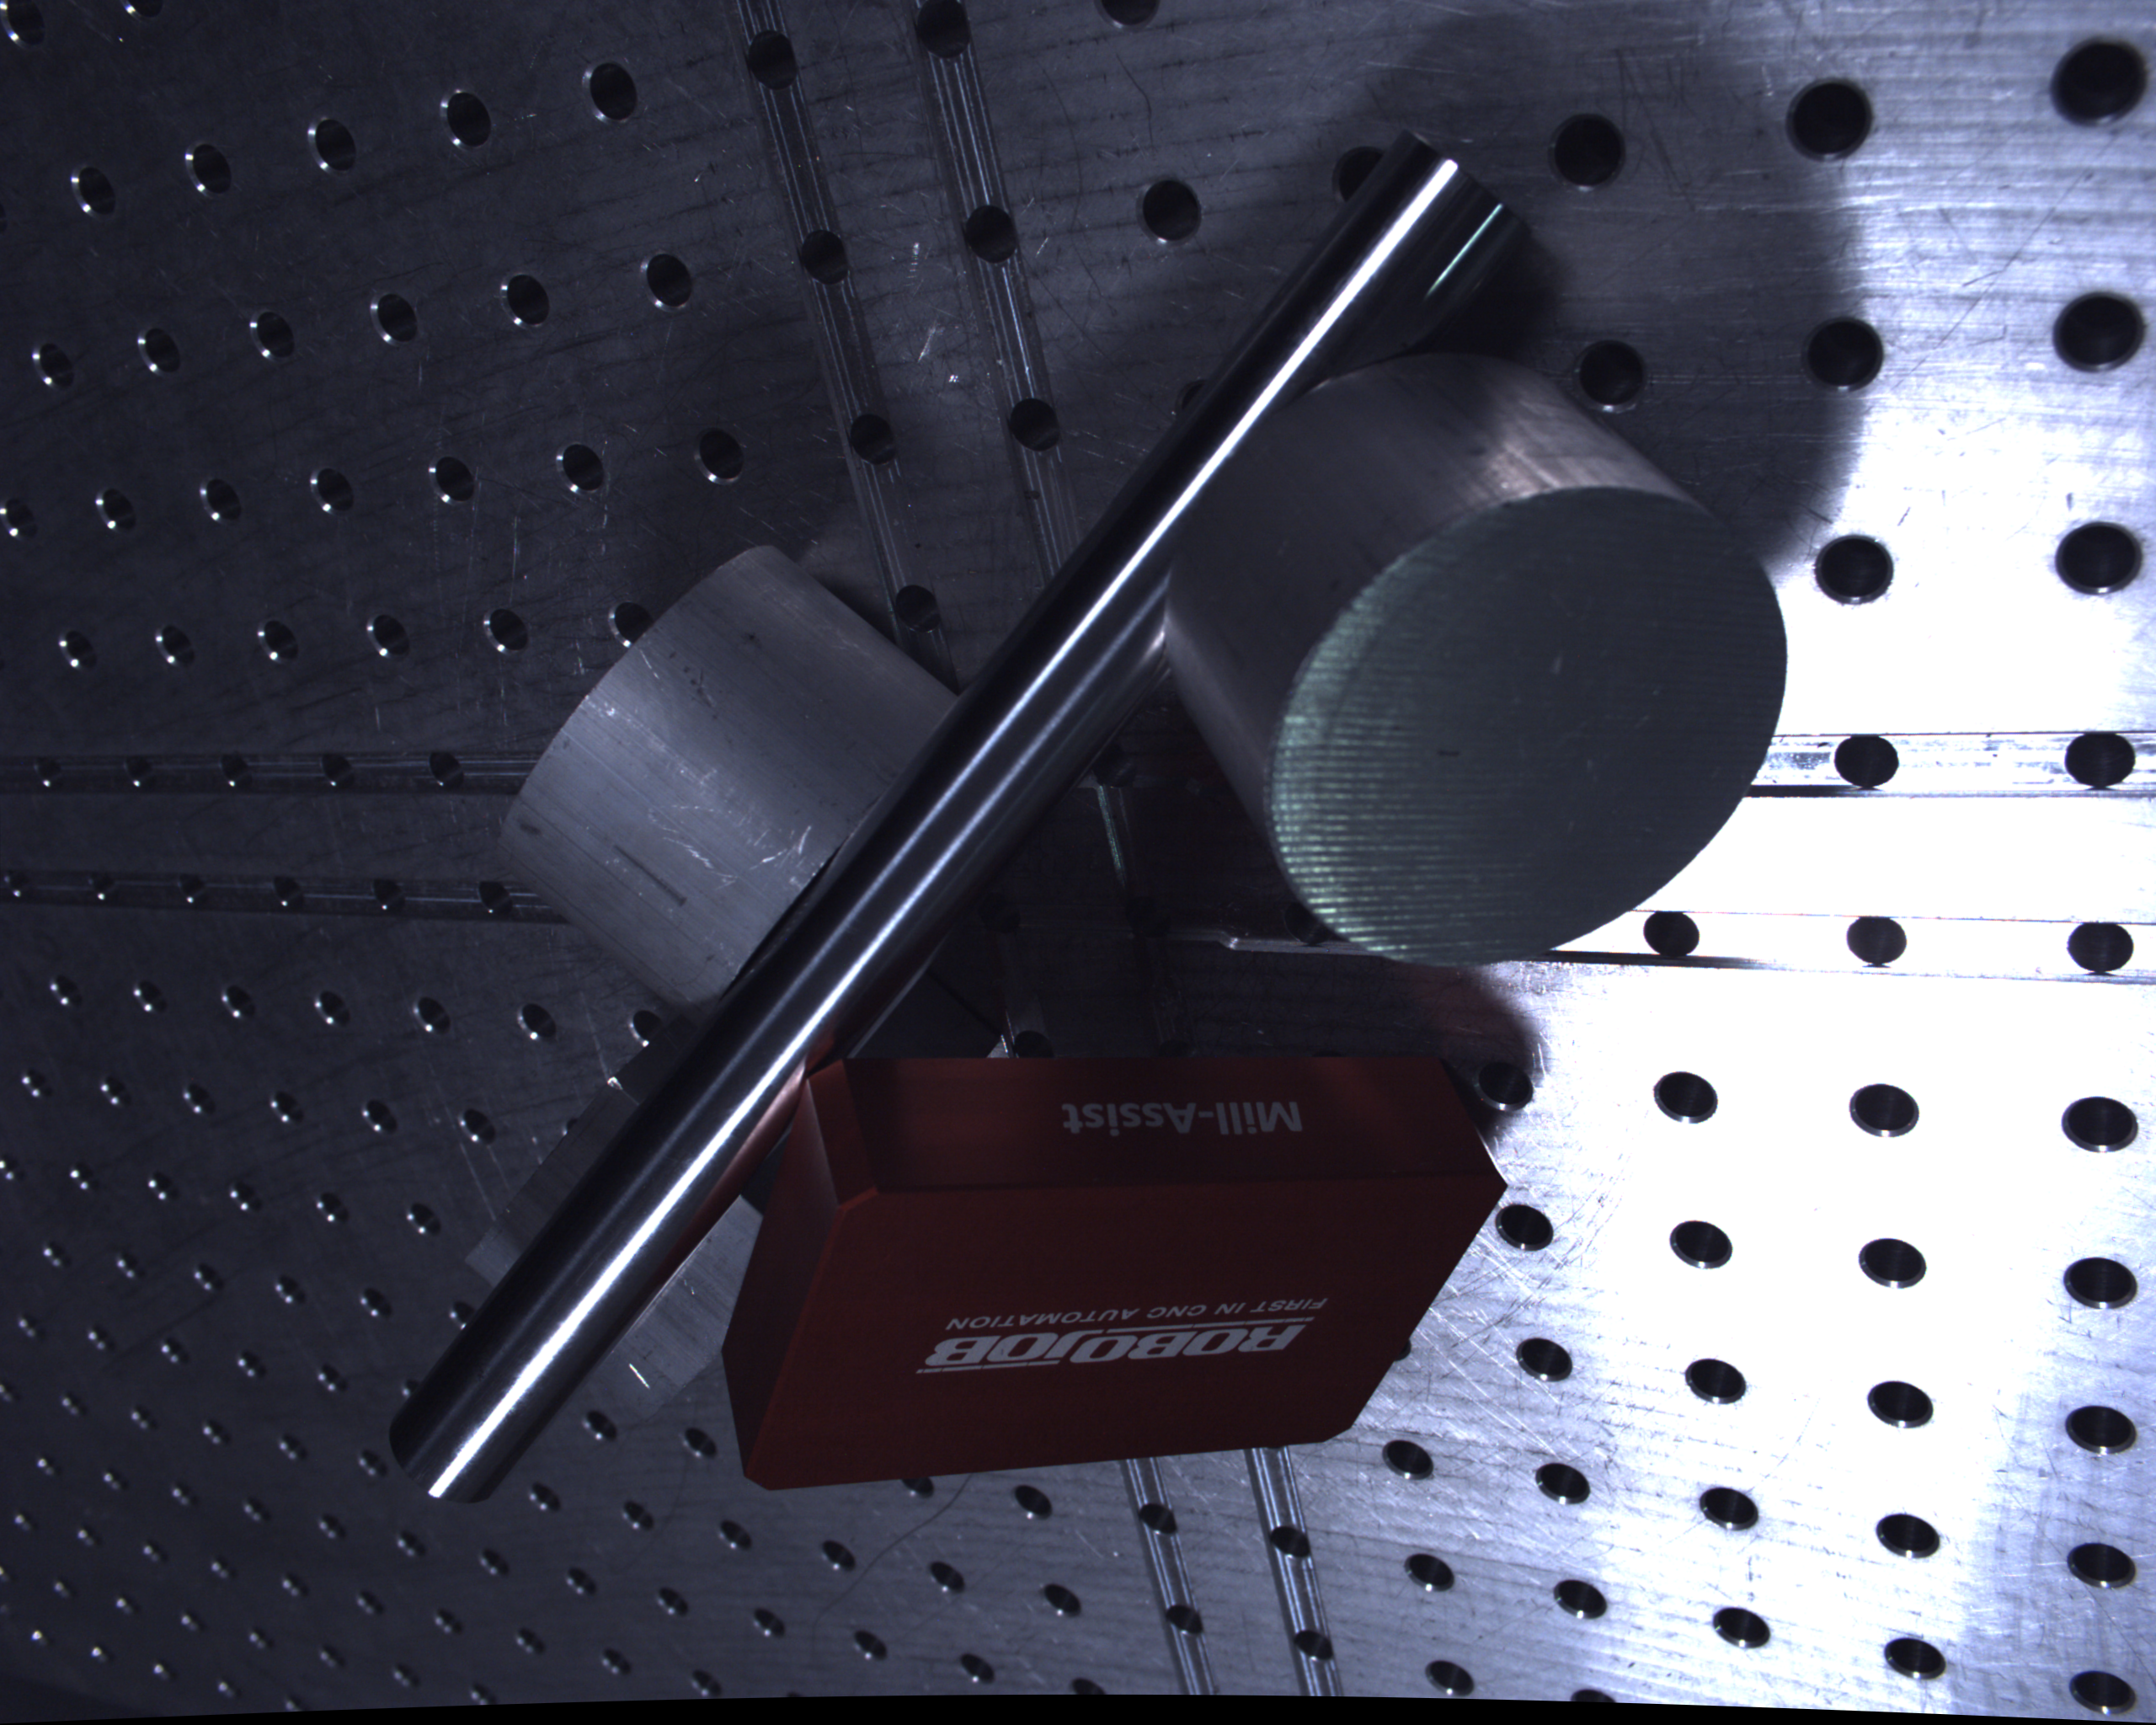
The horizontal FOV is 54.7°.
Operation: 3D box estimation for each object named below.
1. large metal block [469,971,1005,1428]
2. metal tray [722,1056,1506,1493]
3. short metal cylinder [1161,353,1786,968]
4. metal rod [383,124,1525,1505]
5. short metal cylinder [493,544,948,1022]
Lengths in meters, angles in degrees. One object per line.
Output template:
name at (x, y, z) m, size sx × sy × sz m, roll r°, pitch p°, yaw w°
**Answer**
large metal block at (-0.073, 0.063, 0.450) m, size 0.050 × 0.080 × 0.080 m, roll 43°, pitch 129°, yaw -2°
metal tray at (0.005, 0.078, 0.401) m, size 0.131 × 0.030 × 0.089 m, roll 2°, pitch 131°, yaw -23°
short metal cylinder at (0.058, -0.031, 0.319) m, size 0.081 × 0.050 × 0.079 m, roll -9°, pitch 126°, yaw -12°
metal rod at (-0.033, 0.005, 0.361) m, size 0.025 × 0.025 × 0.299 m, roll 40°, pitch 108°, yaw 1°
short metal cylinder at (-0.064, -0.014, 0.399) m, size 0.050 × 0.080 × 0.080 m, roll 40°, pitch 129°, yaw 1°
